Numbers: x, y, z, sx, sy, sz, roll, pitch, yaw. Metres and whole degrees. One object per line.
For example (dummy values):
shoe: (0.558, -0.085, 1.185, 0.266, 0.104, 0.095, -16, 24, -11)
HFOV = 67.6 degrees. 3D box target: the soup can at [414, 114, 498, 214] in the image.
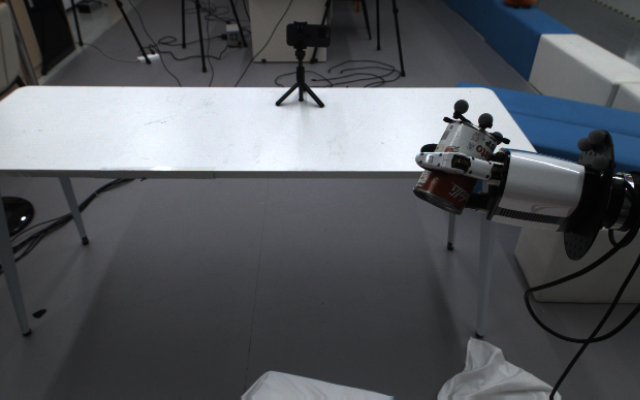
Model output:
soup can: (0.173, -0.041, 0.618, 0.067, 0.101, 0.067, 29, -3, 1)
